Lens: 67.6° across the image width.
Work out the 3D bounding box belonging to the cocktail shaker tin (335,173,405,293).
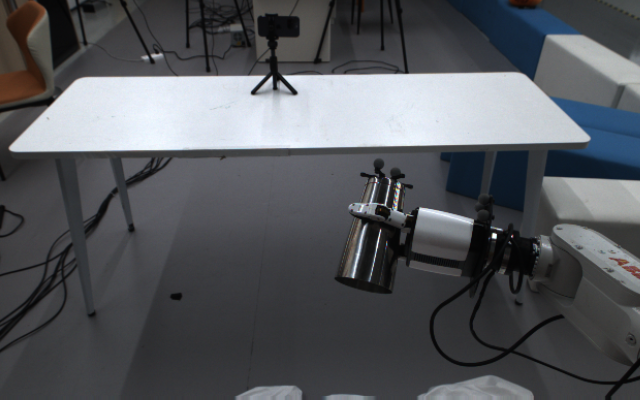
[{"bbox_3d":[0.088,0.053,0.765,0.093,0.093,0.170,11,72,12],"label":"cocktail shaker tin"}]
